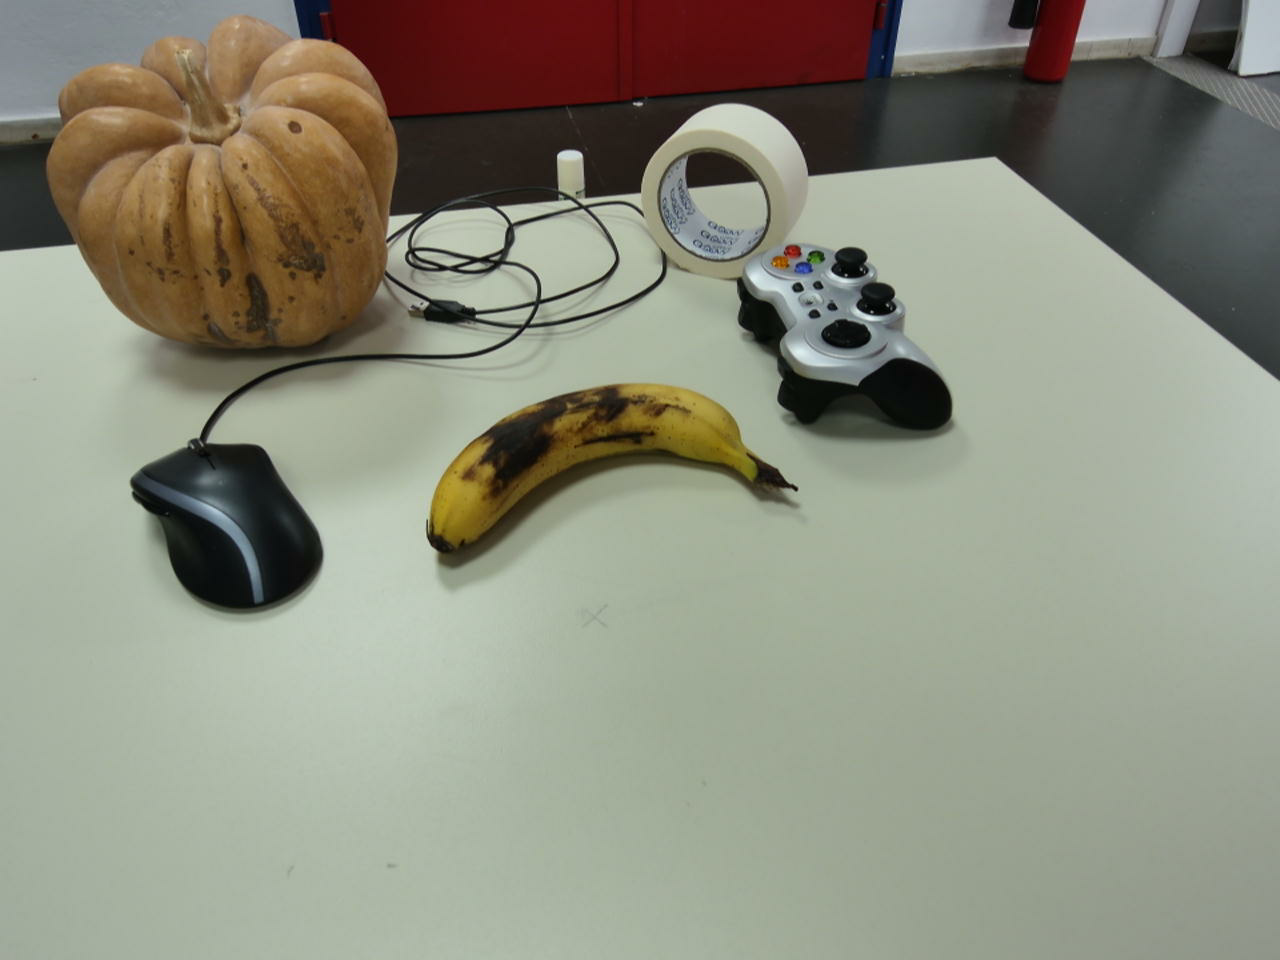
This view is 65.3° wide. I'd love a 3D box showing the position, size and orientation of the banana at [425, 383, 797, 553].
[{"bbox_3d":[-0.023,-0.014,0.527,0.187,0.039,0.094,-9,40,-12],"label":"banana"}]
